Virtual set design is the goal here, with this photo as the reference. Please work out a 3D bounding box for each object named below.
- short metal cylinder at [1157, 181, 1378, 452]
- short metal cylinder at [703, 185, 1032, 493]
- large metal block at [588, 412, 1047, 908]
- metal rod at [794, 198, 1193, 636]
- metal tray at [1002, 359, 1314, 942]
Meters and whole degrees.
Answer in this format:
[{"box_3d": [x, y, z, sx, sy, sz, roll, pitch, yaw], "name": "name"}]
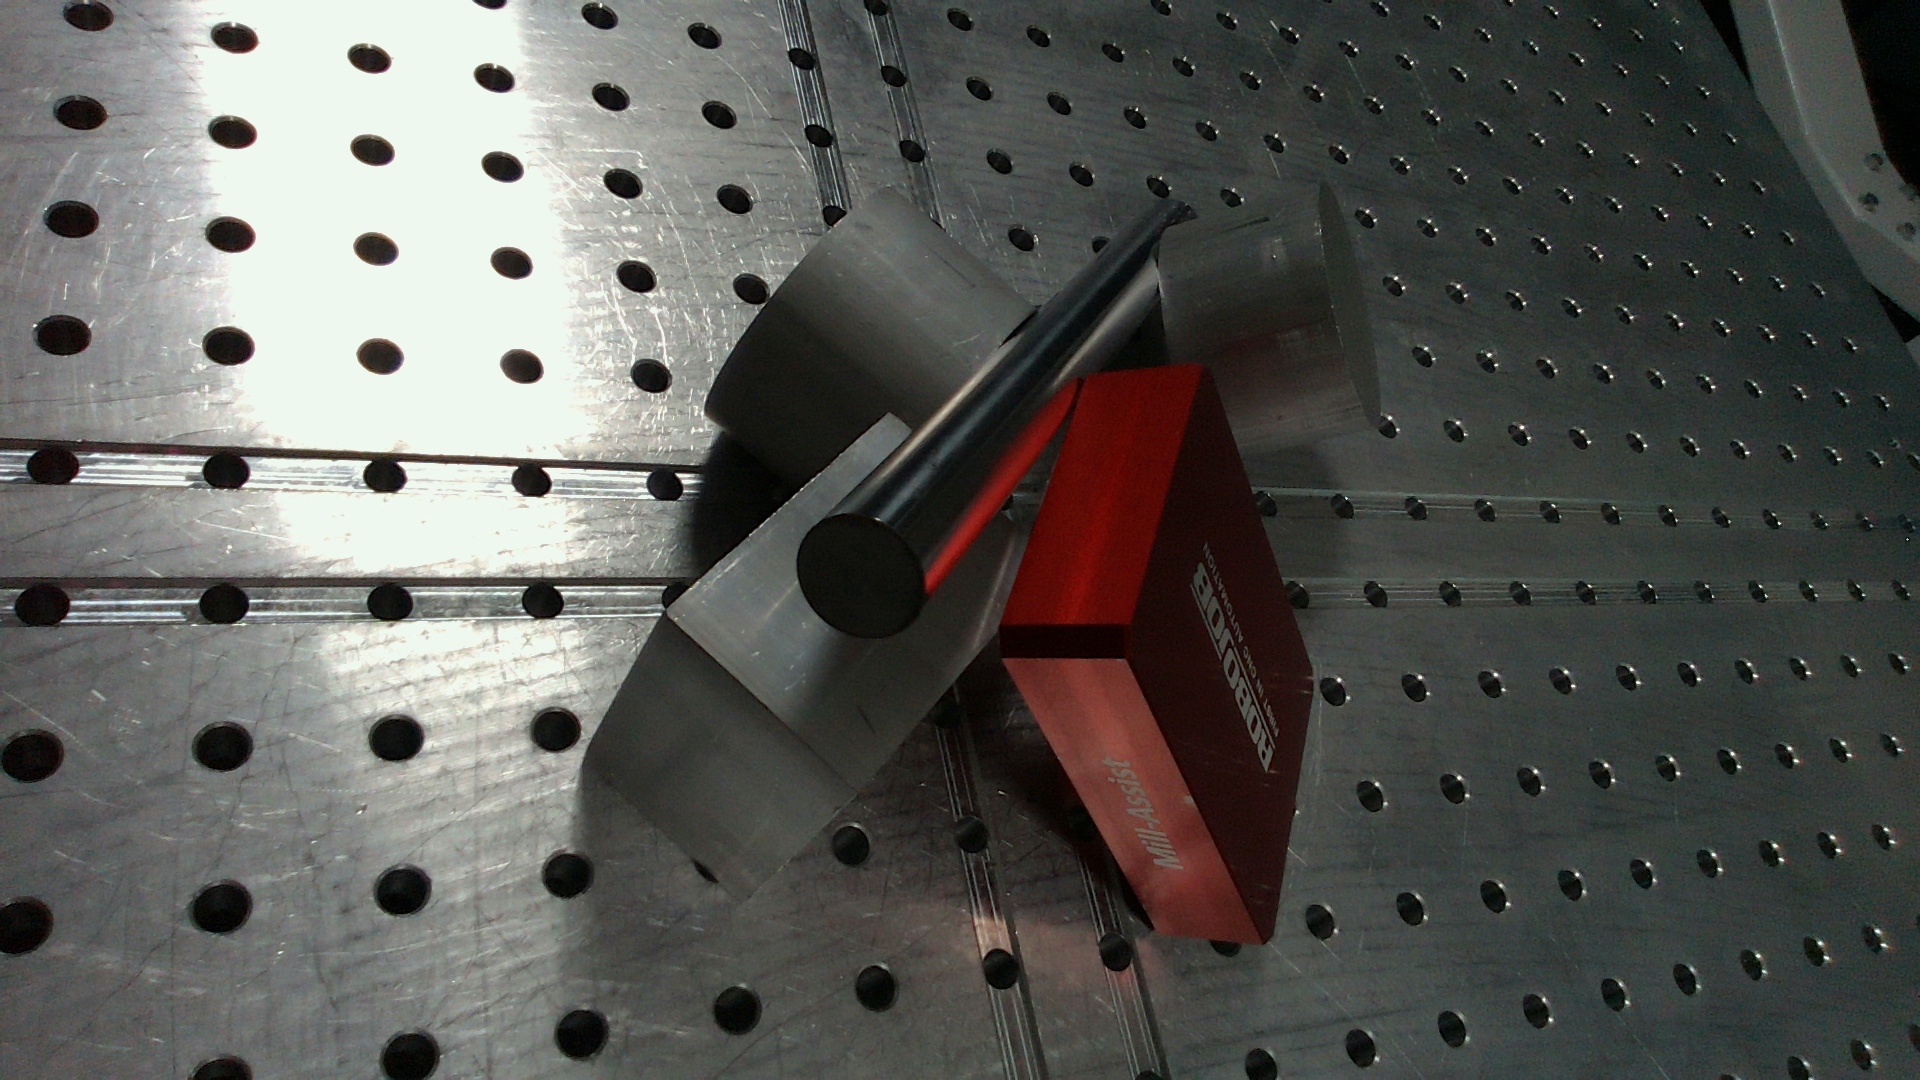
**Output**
[{"box_3d": [0.102, -0.070, 0.449, 0.080, 0.050, 0.080, 39, 45, -54], "name": "short metal cylinder"}, {"box_3d": [-0.024, -0.048, 0.374, 0.050, 0.080, 0.080, 40, 51, -1], "name": "short metal cylinder"}, {"box_3d": [-0.032, 0.029, 0.322, 0.050, 0.080, 0.080, 43, 51, 1], "name": "large metal block"}, {"box_3d": [0.028, -0.053, 0.372, 0.025, 0.025, 0.301, 40, 30, -1], "name": "metal rod"}, {"box_3d": [0.057, 0.031, 0.350, 0.130, 0.030, 0.090, 61, 37, -40], "name": "metal tray"}]
